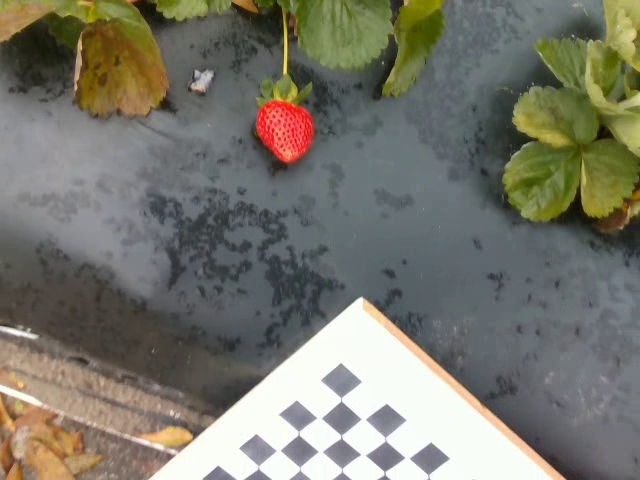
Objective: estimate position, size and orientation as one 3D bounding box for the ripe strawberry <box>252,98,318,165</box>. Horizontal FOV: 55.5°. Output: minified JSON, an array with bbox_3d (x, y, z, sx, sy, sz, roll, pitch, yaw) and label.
[{"bbox_3d":[-0.023,-0.075,0.422,0.045,0.053,0.048,-4,-27,11],"label":"ripe strawberry"}]
